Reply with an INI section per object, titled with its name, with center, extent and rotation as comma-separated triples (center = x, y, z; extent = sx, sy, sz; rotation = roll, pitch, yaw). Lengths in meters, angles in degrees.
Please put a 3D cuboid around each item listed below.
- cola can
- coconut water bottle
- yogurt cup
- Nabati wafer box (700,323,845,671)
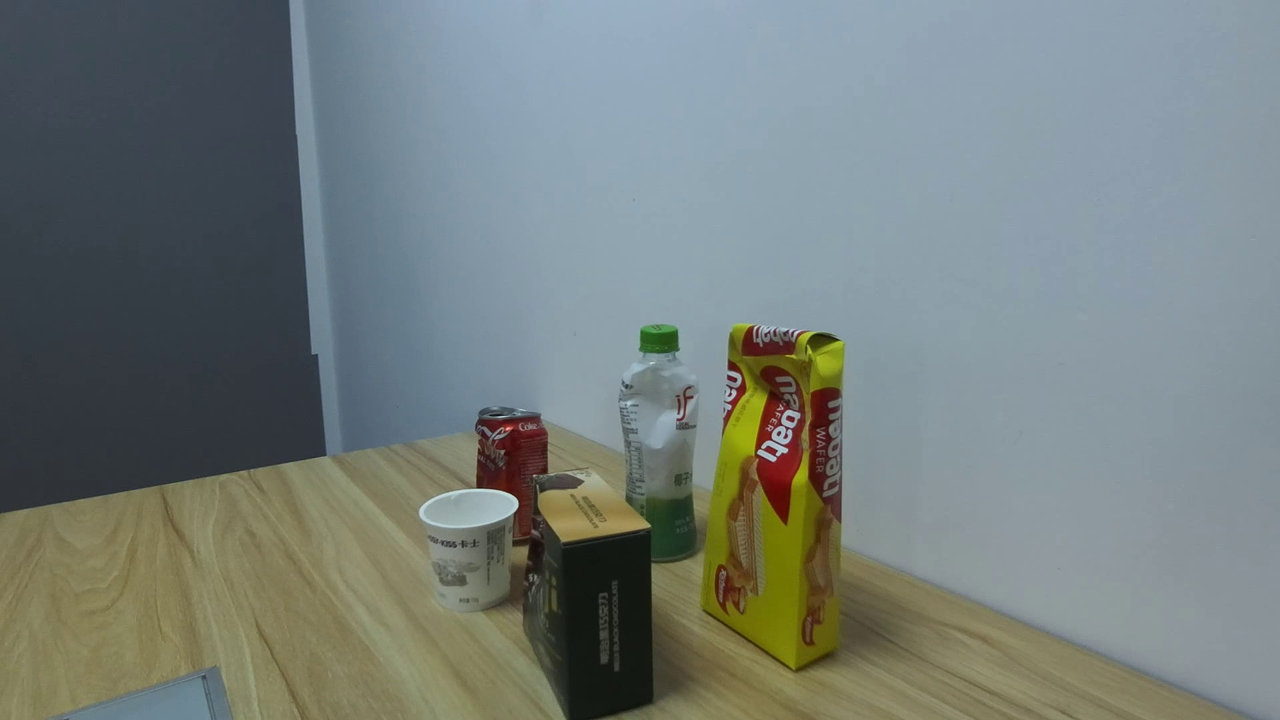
[cola can]
center = -0.111, 0.098, 0.620
extent = 0.066, 0.112, 0.069
rotation = -6, 11, -18
[coconut water bottle]
center = 0.016, 0.066, 0.578
extent = 0.069, 0.186, 0.069
rotation = 1, 10, 0
[yogurt cup]
center = -0.122, 0.139, 0.515
extent = 0.072, 0.068, 0.072
rotation = 0, 11, 0
[Nabati wafer box]
center = 0.084, 0.081, 0.456
extent = 0.043, 0.205, 0.113
rotation = -5, 11, -33
